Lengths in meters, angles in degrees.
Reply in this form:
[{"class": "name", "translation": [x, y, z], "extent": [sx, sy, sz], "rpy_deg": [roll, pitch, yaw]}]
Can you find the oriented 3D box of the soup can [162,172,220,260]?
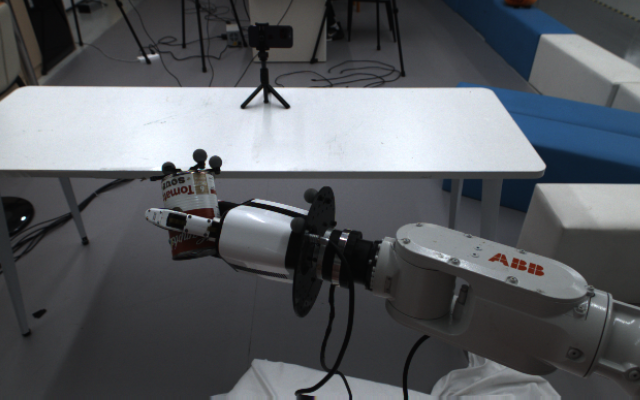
[{"class": "soup can", "translation": [-0.159, 0.021, 0.616], "extent": [0.067, 0.067, 0.101], "rpy_deg": [-10, 80, -17]}]
